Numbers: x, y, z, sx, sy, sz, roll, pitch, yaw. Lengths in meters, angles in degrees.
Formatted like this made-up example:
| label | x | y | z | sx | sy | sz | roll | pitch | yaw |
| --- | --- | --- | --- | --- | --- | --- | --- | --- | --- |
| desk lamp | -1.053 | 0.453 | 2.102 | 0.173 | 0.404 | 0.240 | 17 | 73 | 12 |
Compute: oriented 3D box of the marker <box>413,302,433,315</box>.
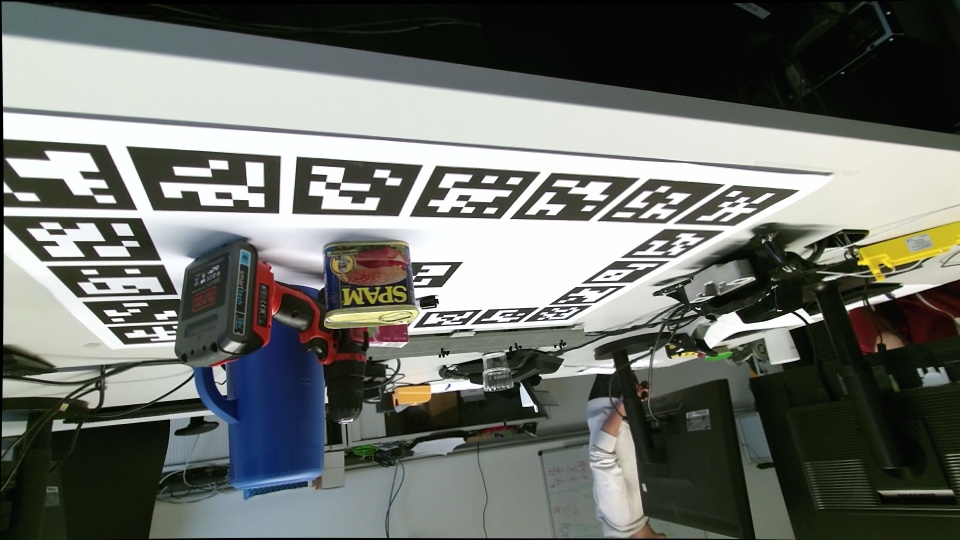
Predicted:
| label | x | y | z | sx | sy | sz | roll | pitch | yaw |
| --- | --- | --- | --- | --- | --- | --- | --- | --- | --- |
| marker | -0.132 | 0.069 | 0.829 | 0.121 | 0.019 | 0.020 | -12 | 158 | 3 |

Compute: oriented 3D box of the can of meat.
| label | x | y | z | sx | sy | sz | roll | pitch | yaw |
| --- | --- | --- | --- | --- | --- | --- | --- | --- | --- |
| can of meat | -0.130 | 0.013 | 0.600 | 0.102 | 0.083 | 0.058 | -1 | 159 | -21 |

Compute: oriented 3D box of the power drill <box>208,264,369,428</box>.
| label | x | y | z | sx | sy | sz | roll | pitch | yaw |
| --- | --- | --- | --- | --- | --- | --- | --- | --- | --- |
| power drill | -0.207 | 0.082 | 0.613 | 0.057 | 0.183 | 0.188 | -25 | 148 | 28 |

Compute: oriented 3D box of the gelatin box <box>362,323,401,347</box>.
| label | x | y | z | sx | sy | sz | roll | pitch | yaw |
| --- | --- | --- | --- | --- | --- | --- | --- | --- | --- |
| gelatin box | -0.160 | 0.070 | 0.754 | 0.090 | 0.073 | 0.030 | 6 | 150 | -31 |

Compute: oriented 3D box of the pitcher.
| label | x | y | z | sx | sy | sz | roll | pitch | yaw |
| --- | --- | --- | --- | --- | --- | --- | --- | --- | --- |
| pitcher | -0.283 | 0.145 | 0.675 | 0.133 | 0.241 | 0.189 | -27 | 160 | 29 |
